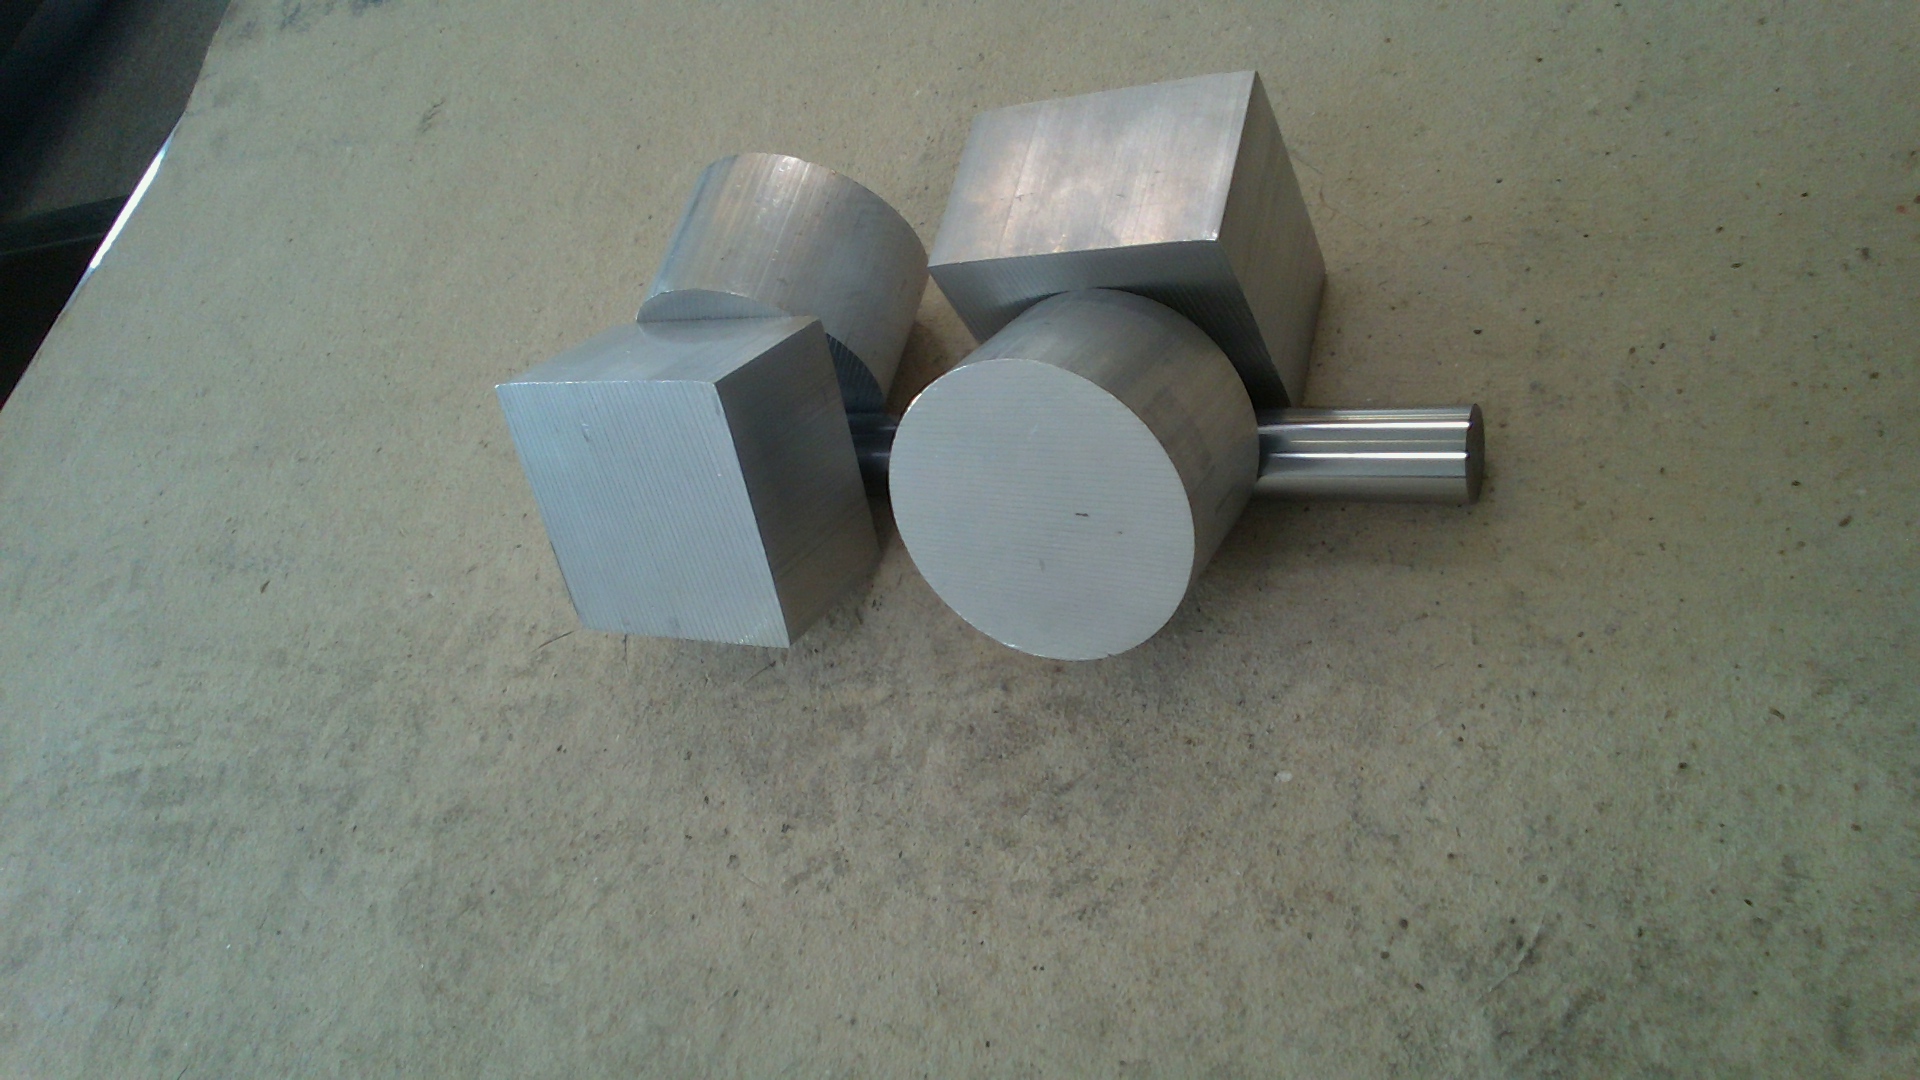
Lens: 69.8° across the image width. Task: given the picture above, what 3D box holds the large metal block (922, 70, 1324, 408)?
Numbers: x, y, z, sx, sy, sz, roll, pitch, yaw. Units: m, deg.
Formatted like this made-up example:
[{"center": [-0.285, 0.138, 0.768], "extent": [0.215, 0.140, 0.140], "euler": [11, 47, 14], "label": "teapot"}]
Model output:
[{"center": [0.048, -0.075, 0.378], "extent": [0.080, 0.080, 0.050], "euler": [1, 62, 29], "label": "large metal block"}]

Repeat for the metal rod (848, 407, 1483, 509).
[{"center": [-0.003, -0.025, 0.413], "extent": [0.299, 0.025, 0.025], "euler": [2, 63, 29], "label": "metal rod"}]

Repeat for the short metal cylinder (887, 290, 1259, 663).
[{"center": [0.029, -0.016, 0.345], "extent": [0.080, 0.080, 0.050], "euler": [2, 28, 29], "label": "short metal cylinder"}]

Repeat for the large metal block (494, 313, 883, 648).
[{"center": [-0.077, -0.019, 0.404], "extent": [0.080, 0.080, 0.050], "euler": [3, 29, 29], "label": "large metal block"}]

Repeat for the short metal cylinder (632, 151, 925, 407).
[{"center": [-0.056, -0.076, 0.435], "extent": [0.080, 0.080, 0.050], "euler": [3, 63, 30], "label": "short metal cylinder"}]
